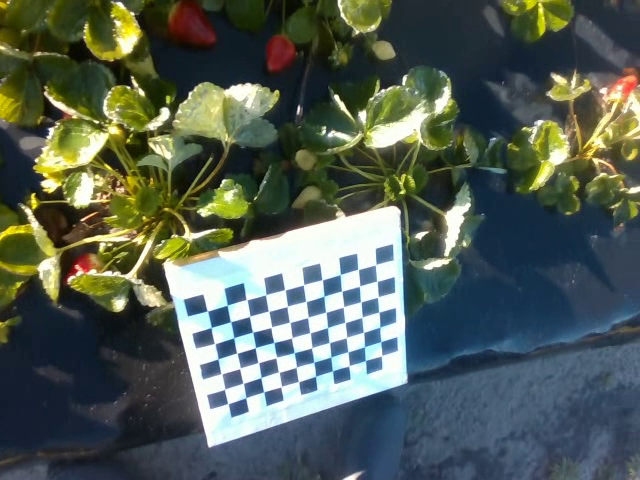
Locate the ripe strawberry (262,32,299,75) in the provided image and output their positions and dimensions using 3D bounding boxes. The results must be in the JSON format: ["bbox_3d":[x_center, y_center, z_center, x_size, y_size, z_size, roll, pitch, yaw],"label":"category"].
[{"bbox_3d":[-0.046,-0.201,0.728,0.039,0.047,0.040,25,-2,-29],"label":"ripe strawberry"}]

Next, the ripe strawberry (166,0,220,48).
[{"bbox_3d":[-0.133,-0.223,0.699,0.056,0.044,0.040,37,3,-30],"label":"ripe strawberry"}]
